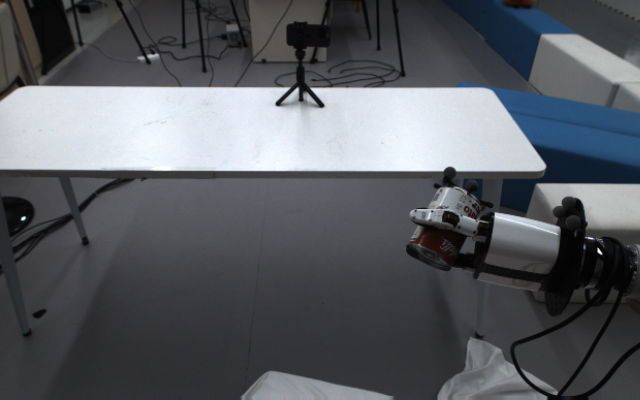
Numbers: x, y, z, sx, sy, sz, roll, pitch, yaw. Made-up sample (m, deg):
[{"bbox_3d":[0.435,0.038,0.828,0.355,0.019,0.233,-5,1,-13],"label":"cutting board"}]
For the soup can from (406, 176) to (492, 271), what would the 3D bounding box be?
[{"bbox_3d":[0.175,0.037,0.676,0.067,0.067,0.101,24,73,28],"label":"soup can"}]
